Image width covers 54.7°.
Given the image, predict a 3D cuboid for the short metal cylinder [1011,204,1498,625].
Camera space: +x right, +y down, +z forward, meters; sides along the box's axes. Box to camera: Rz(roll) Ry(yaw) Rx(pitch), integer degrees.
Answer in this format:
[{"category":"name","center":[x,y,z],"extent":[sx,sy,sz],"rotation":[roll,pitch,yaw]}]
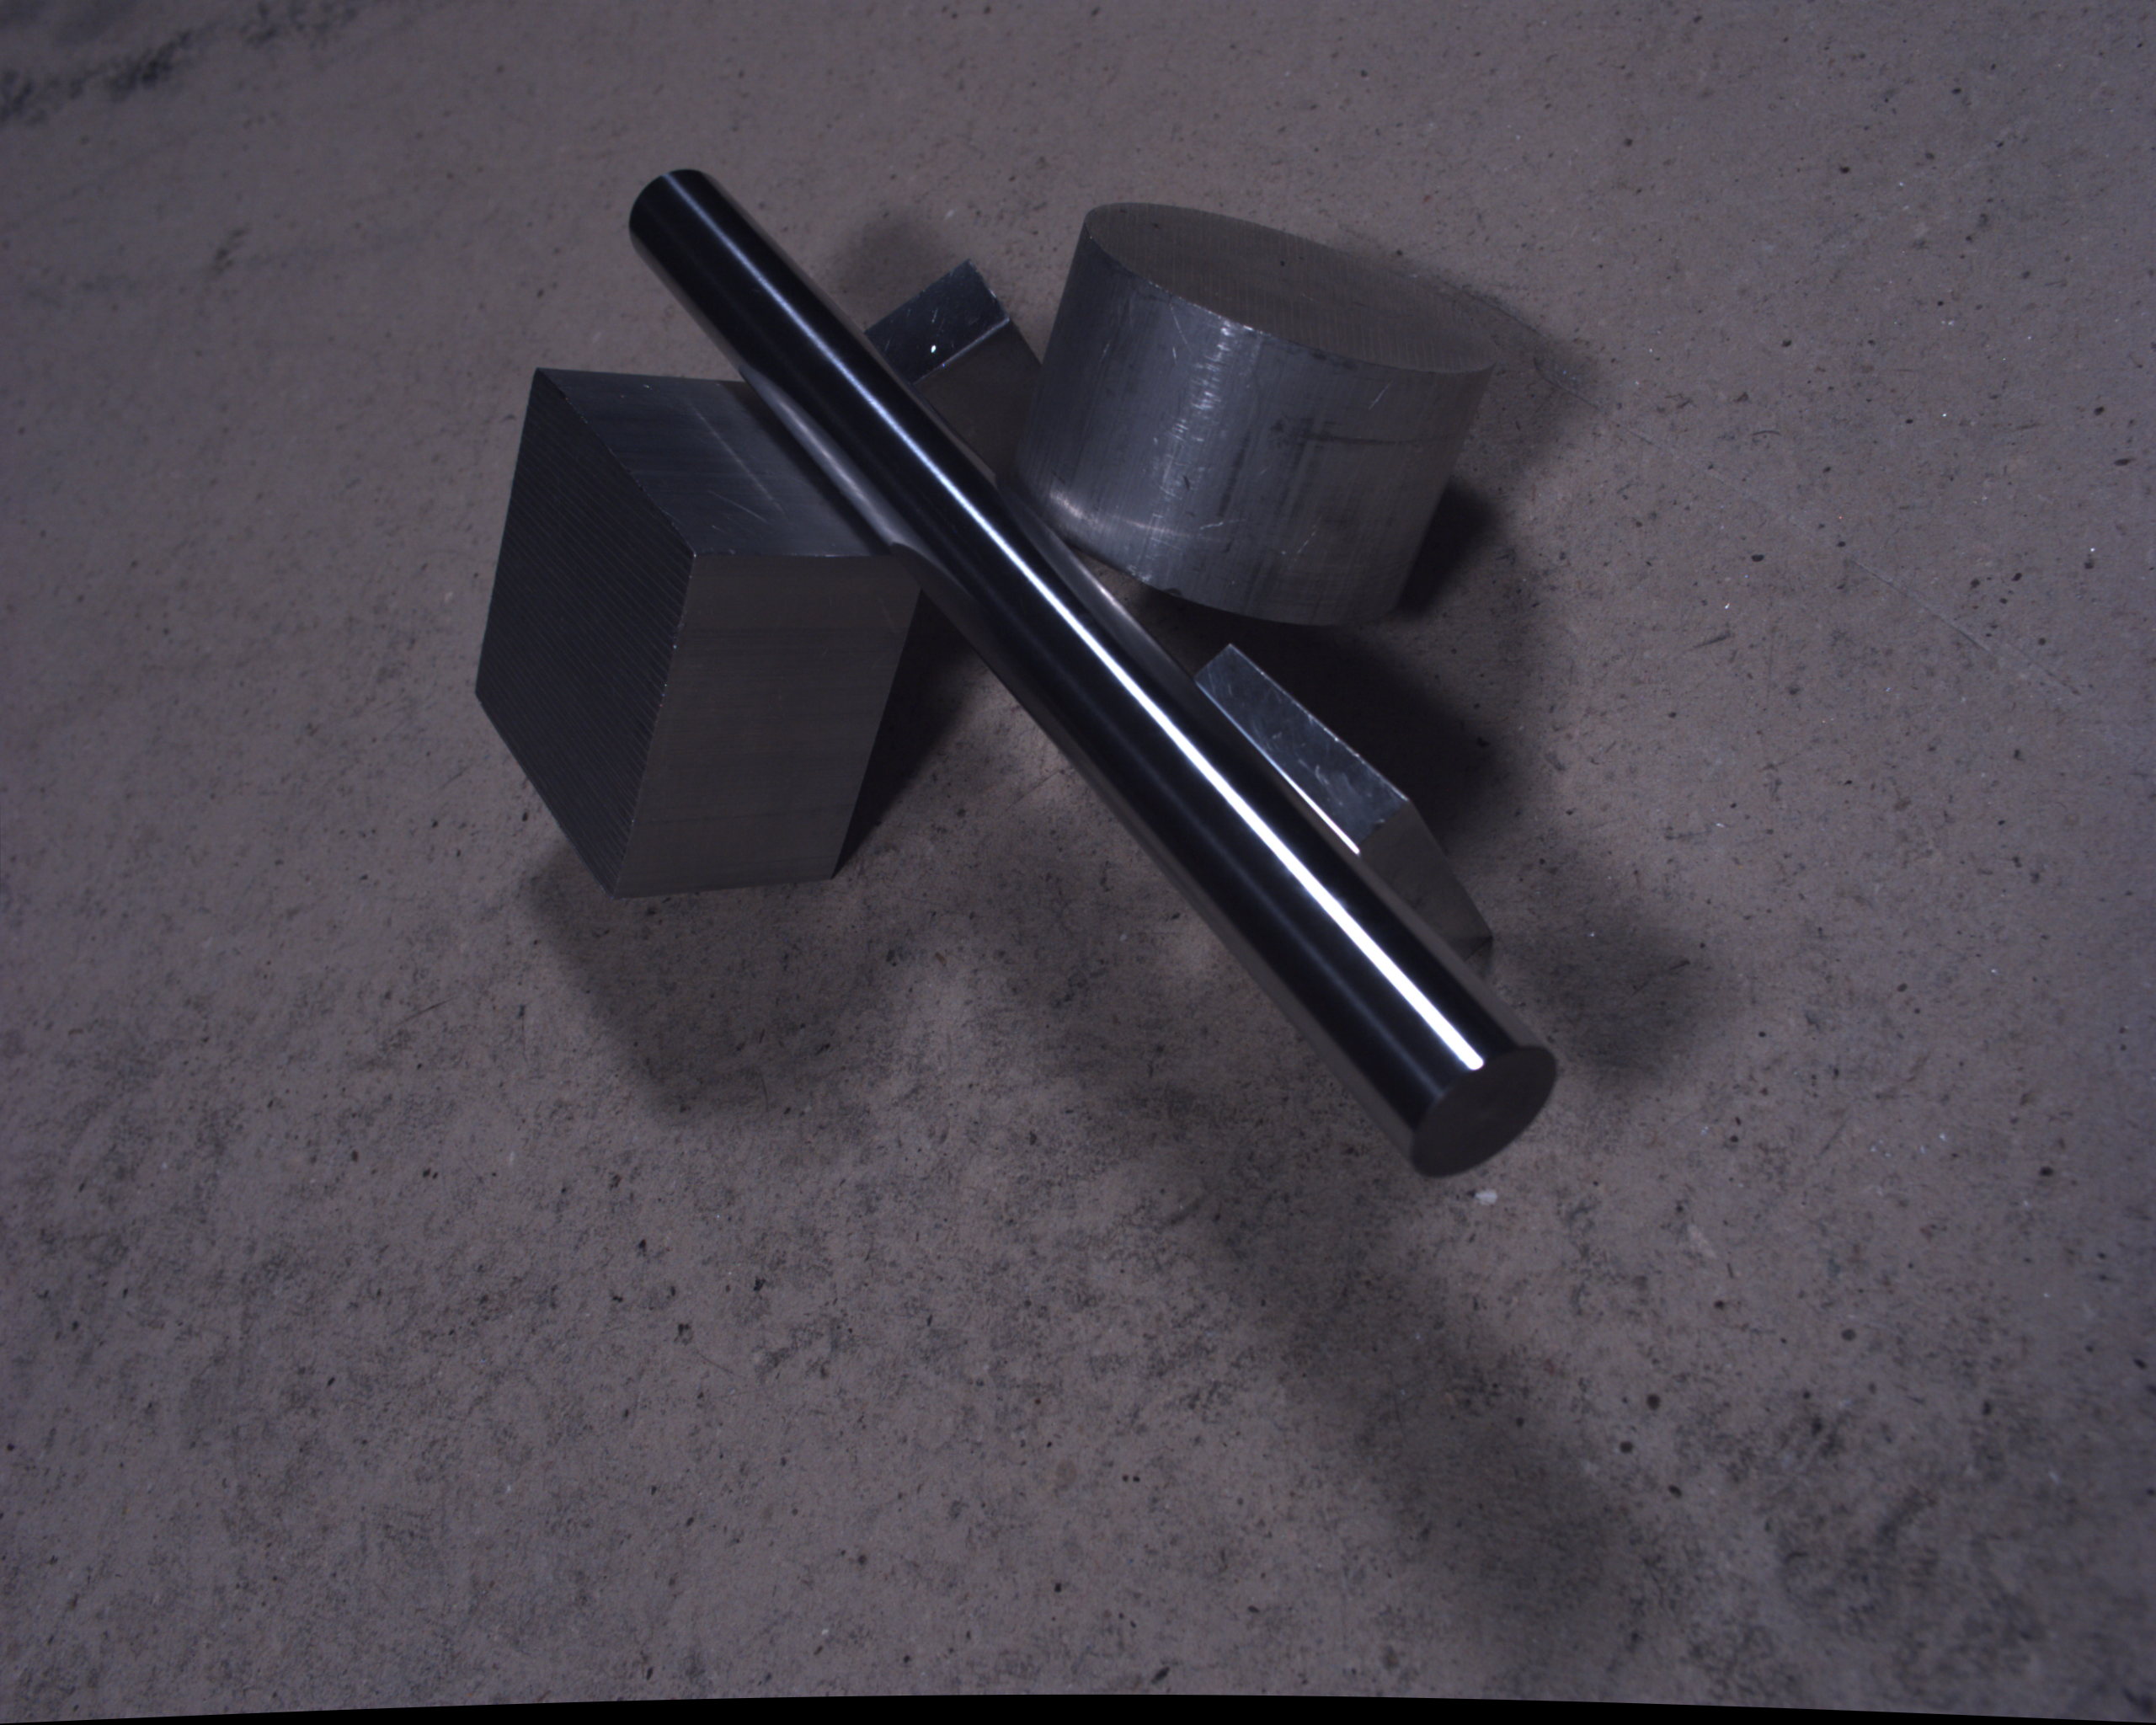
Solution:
[{"category":"short metal cylinder","center":[0.032,-0.086,0.397],"extent":[0.080,0.081,0.050],"rotation":[45,129,39]}]

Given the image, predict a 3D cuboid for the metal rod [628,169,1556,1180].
[{"category":"metal rod","center":[-0.017,-0.056,0.383],"extent":[0.025,0.025,0.300],"rotation":[-40,51,1]}]

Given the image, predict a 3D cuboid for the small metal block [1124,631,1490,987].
[{"category":"small metal block","center":[0.041,-0.006,0.367],"extent":[0.025,0.050,0.050],"rotation":[-42,51,0]}]

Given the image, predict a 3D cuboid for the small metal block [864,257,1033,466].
[{"category":"small metal block","center":[-0.029,-0.096,0.462],"extent":[0.050,0.050,0.025],"rotation":[-34,52,6]}]

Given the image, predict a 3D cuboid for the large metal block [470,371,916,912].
[{"category":"large metal block","center":[-0.083,-0.047,0.437],"extent":[0.080,0.050,0.079],"rotation":[47,129,38]}]
